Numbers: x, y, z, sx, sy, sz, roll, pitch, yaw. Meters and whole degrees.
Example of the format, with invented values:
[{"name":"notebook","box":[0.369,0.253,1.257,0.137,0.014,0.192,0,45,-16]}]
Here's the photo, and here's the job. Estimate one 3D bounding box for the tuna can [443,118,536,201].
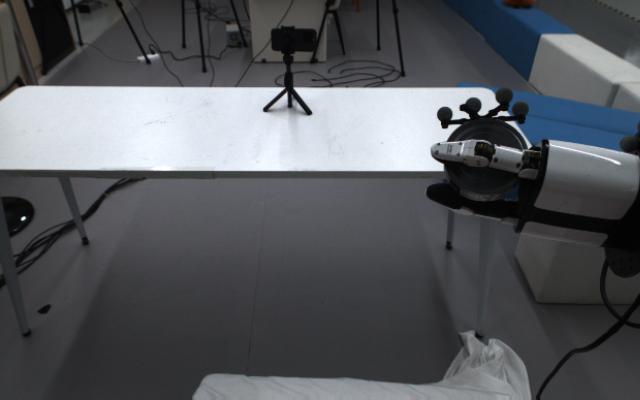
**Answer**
[{"name":"tuna can","box":[0.177,-0.045,0.524,0.085,0.034,0.085,-5,70,15]}]
